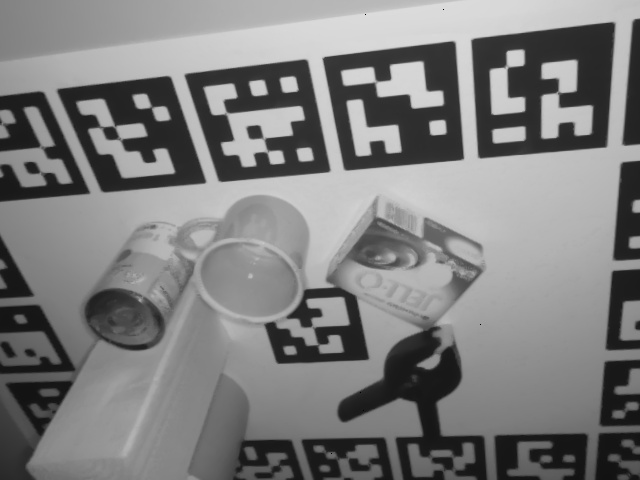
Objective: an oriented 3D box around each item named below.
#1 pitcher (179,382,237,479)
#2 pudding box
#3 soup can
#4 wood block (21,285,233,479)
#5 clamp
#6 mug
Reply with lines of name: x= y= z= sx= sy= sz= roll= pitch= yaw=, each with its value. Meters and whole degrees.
pitcher: x=-0.165 y=0.252 z=0.684 sx=0.188 sy=0.245 sz=0.132 roll=-7 pitch=125 yaw=9
pudding box: x=0.083 y=0.020 z=0.624 sx=0.114 sy=0.039 sz=0.089 roll=26 pitch=120 yaw=-11
soup can: x=-0.155 y=0.037 z=0.621 sx=0.068 sy=0.103 sz=0.067 roll=3 pitch=122 yaw=6
wood block: x=-0.162 y=0.142 z=0.628 sx=0.089 sy=0.209 sz=0.090 roll=-6 pitch=123 yaw=16
clamp: x=0.093 y=0.152 z=0.718 sx=0.122 sy=0.037 sz=0.163 roll=23 pitch=123 yaw=1
mug: x=-0.067 y=0.007 z=0.604 sx=0.118 sy=0.082 sz=0.092 roll=24 pitch=126 yaw=-10
